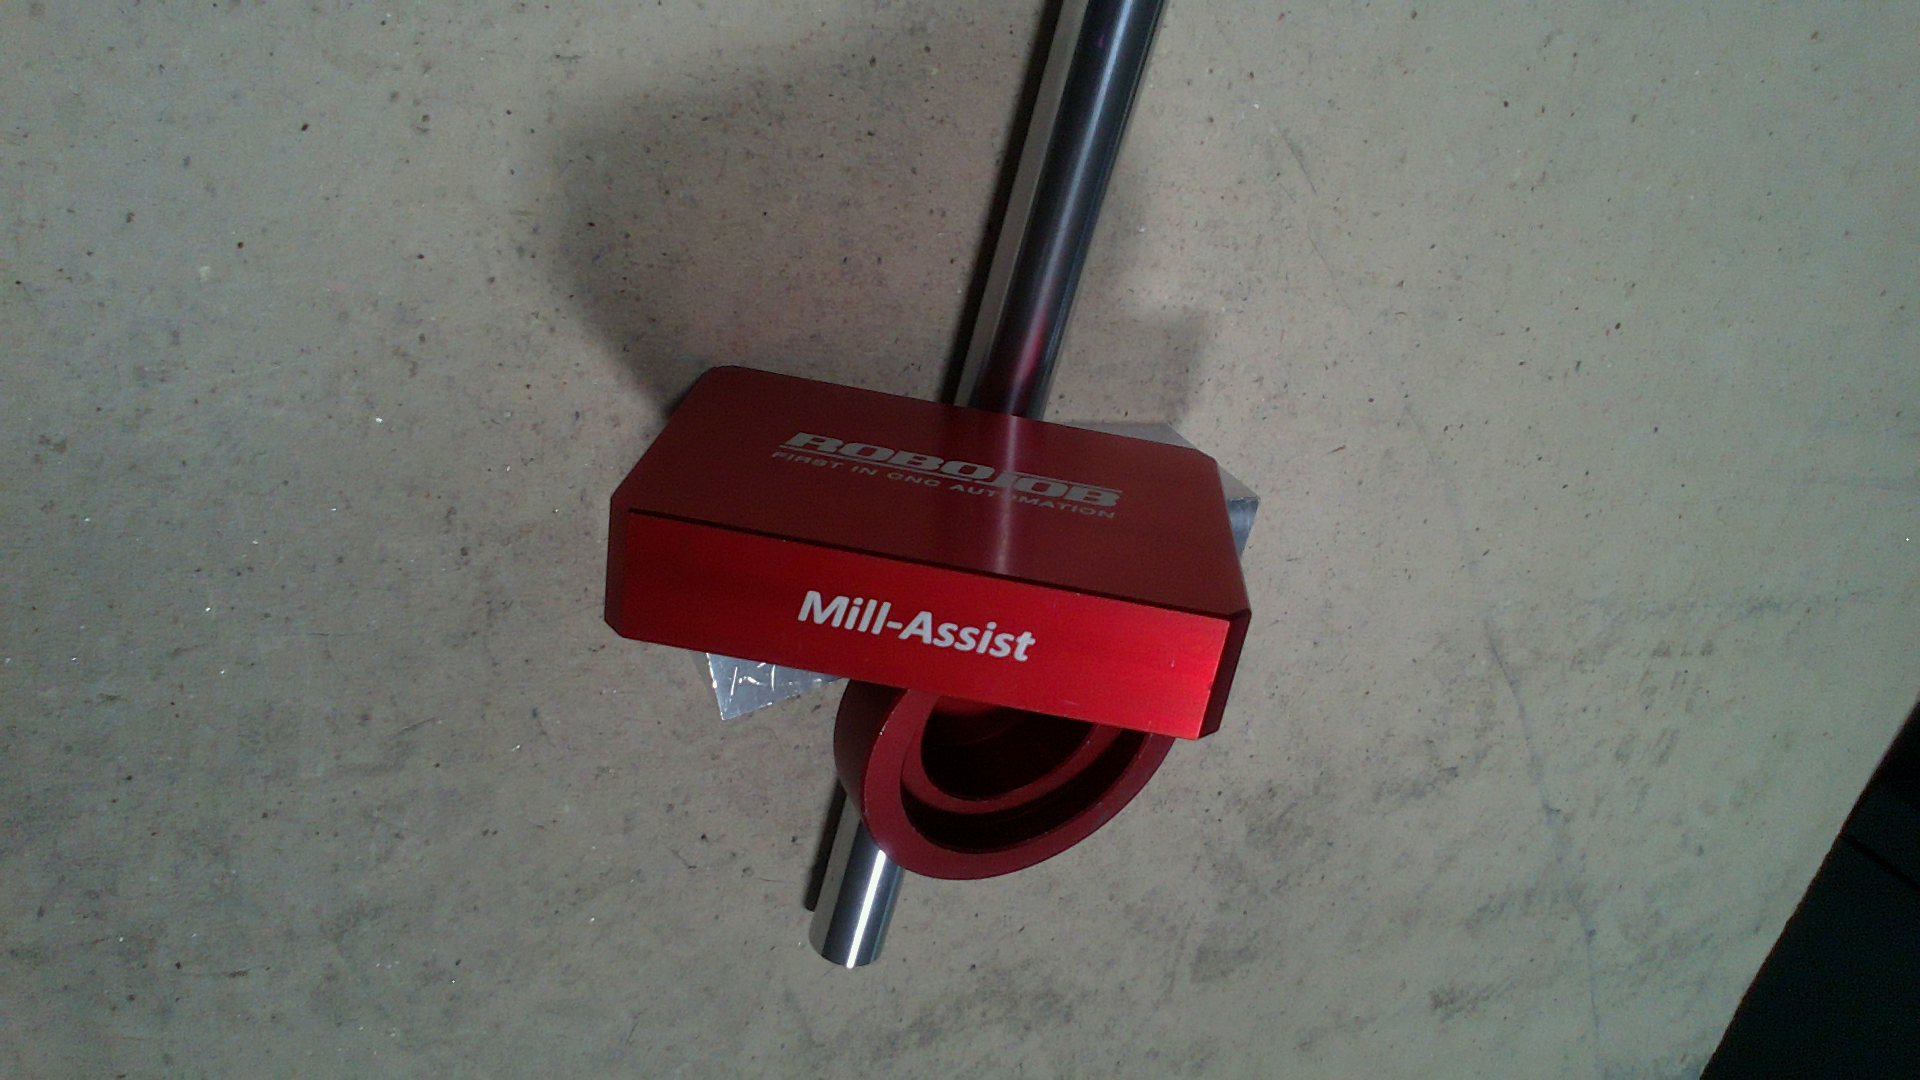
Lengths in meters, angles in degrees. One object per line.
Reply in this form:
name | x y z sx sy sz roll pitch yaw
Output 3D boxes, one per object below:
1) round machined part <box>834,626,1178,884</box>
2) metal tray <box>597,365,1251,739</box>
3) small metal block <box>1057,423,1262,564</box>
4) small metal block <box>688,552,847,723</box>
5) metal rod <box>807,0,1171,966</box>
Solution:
round machined part | 0.011 0.043 0.375 0.098 0.042 0.098 -16 129 -20
metal tray | -0.005 -0.002 0.314 0.130 0.090 0.030 10 116 0
small metal block | 0.048 -0.012 0.392 0.050 0.050 0.025 -2 119 -27
small metal block | -0.047 0.015 0.357 0.050 0.050 0.025 -18 126 -18
metal rod | 0.001 -0.002 0.388 0.025 0.025 0.300 2 117 -29
